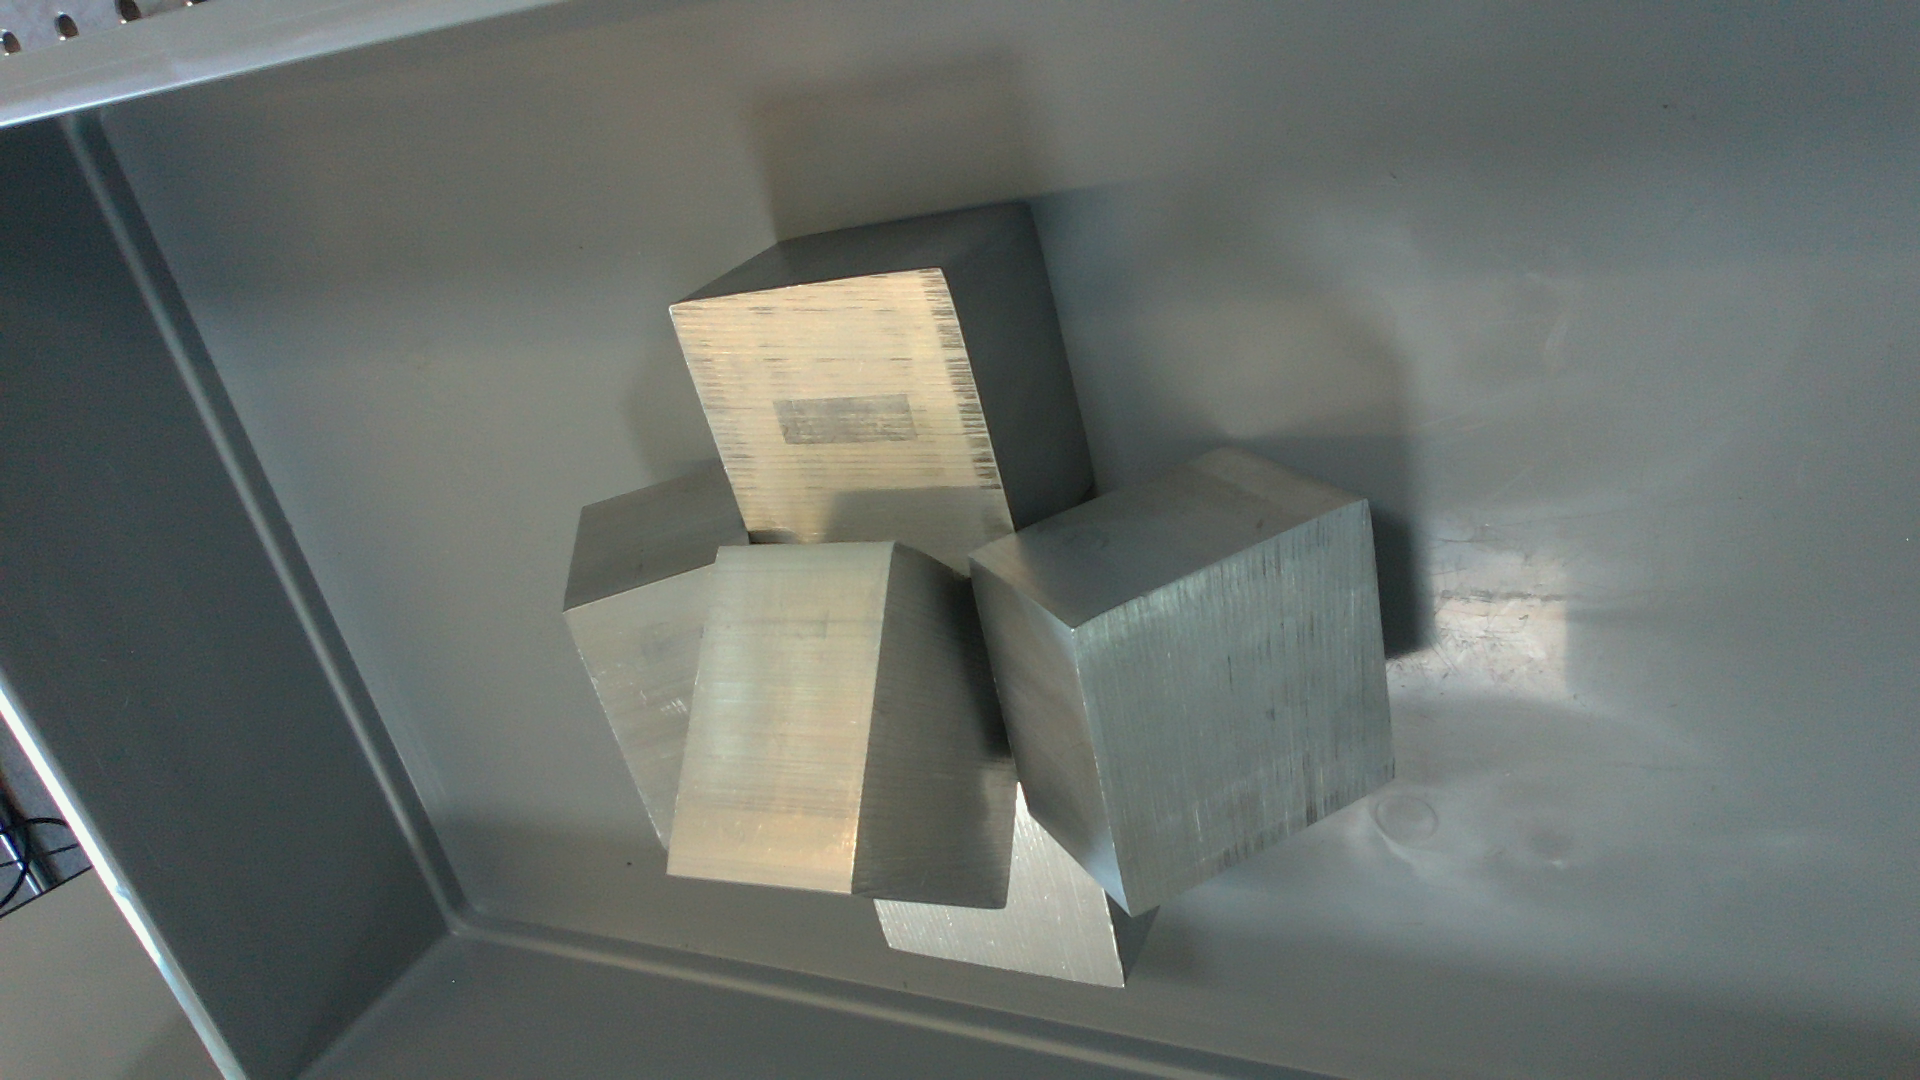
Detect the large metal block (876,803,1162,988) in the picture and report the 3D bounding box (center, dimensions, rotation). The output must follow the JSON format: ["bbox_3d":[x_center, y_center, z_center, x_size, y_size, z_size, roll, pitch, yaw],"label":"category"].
[{"bbox_3d":[0.015,0.082,0.419,0.080,0.050,0.080,1,119,28],"label":"large metal block"}]

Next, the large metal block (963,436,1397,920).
[{"bbox_3d":[0.055,0.031,0.337,0.050,0.080,0.080,36,144,58],"label":"large metal block"}]

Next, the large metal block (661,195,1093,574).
[{"bbox_3d":[-0.019,-0.038,0.359,0.080,0.050,0.080,-2,118,29],"label":"large metal block"}]

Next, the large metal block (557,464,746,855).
[{"bbox_3d":[-0.076,0.031,0.406,0.050,0.080,0.080,-18,115,-4],"label":"large metal block"}]

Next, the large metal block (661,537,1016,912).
[{"bbox_3d":[-0.024,0.049,0.348,0.050,0.080,0.080,-1,74,28],"label":"large metal block"}]
